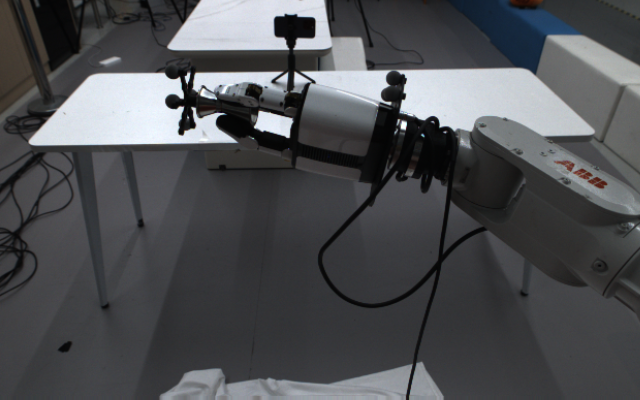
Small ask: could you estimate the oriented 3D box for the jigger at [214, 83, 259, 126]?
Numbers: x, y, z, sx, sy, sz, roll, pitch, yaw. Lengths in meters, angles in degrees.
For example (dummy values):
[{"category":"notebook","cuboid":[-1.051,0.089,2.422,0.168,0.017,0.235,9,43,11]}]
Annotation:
[{"category":"jigger","cuboid":[-0.109,-0.120,0.596,0.071,0.043,0.043,6,35,2]}]
